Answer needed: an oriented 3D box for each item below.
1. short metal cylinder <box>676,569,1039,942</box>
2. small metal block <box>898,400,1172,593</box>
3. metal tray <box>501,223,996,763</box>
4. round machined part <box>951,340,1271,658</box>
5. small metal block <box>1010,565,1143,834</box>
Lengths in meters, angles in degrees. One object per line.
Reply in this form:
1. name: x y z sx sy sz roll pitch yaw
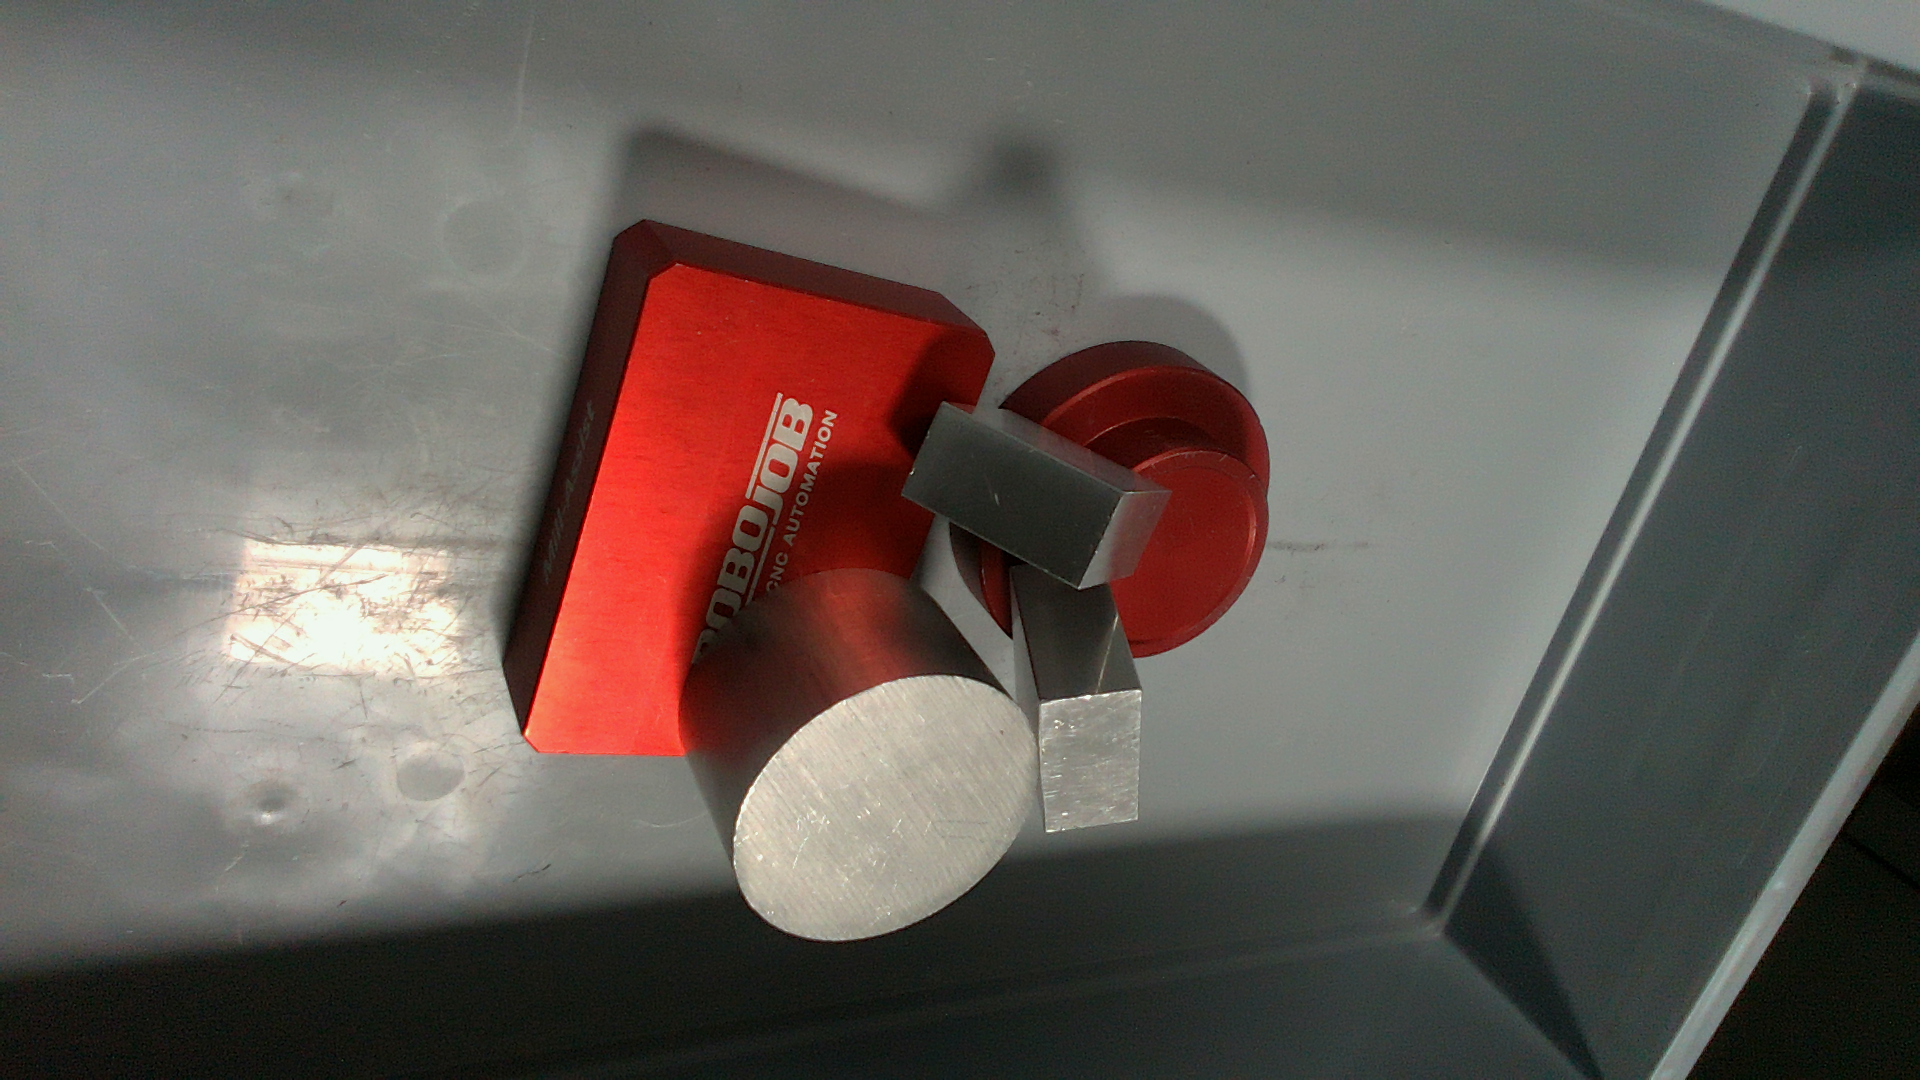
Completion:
1. short metal cylinder: -0.027 0.055 0.352 0.080 0.050 0.080 -14 124 -21
2. small metal block: 0.020 -0.012 0.343 0.025 0.050 0.050 -65 162 12
3. metal tray: -0.055 -0.005 0.349 0.090 0.030 0.130 8 114 -32
4. round machined part: 0.050 -0.005 0.400 0.098 0.042 0.098 -14 124 -21
5. small metal block: 0.030 0.040 0.362 0.025 0.050 0.050 -7 130 -2
